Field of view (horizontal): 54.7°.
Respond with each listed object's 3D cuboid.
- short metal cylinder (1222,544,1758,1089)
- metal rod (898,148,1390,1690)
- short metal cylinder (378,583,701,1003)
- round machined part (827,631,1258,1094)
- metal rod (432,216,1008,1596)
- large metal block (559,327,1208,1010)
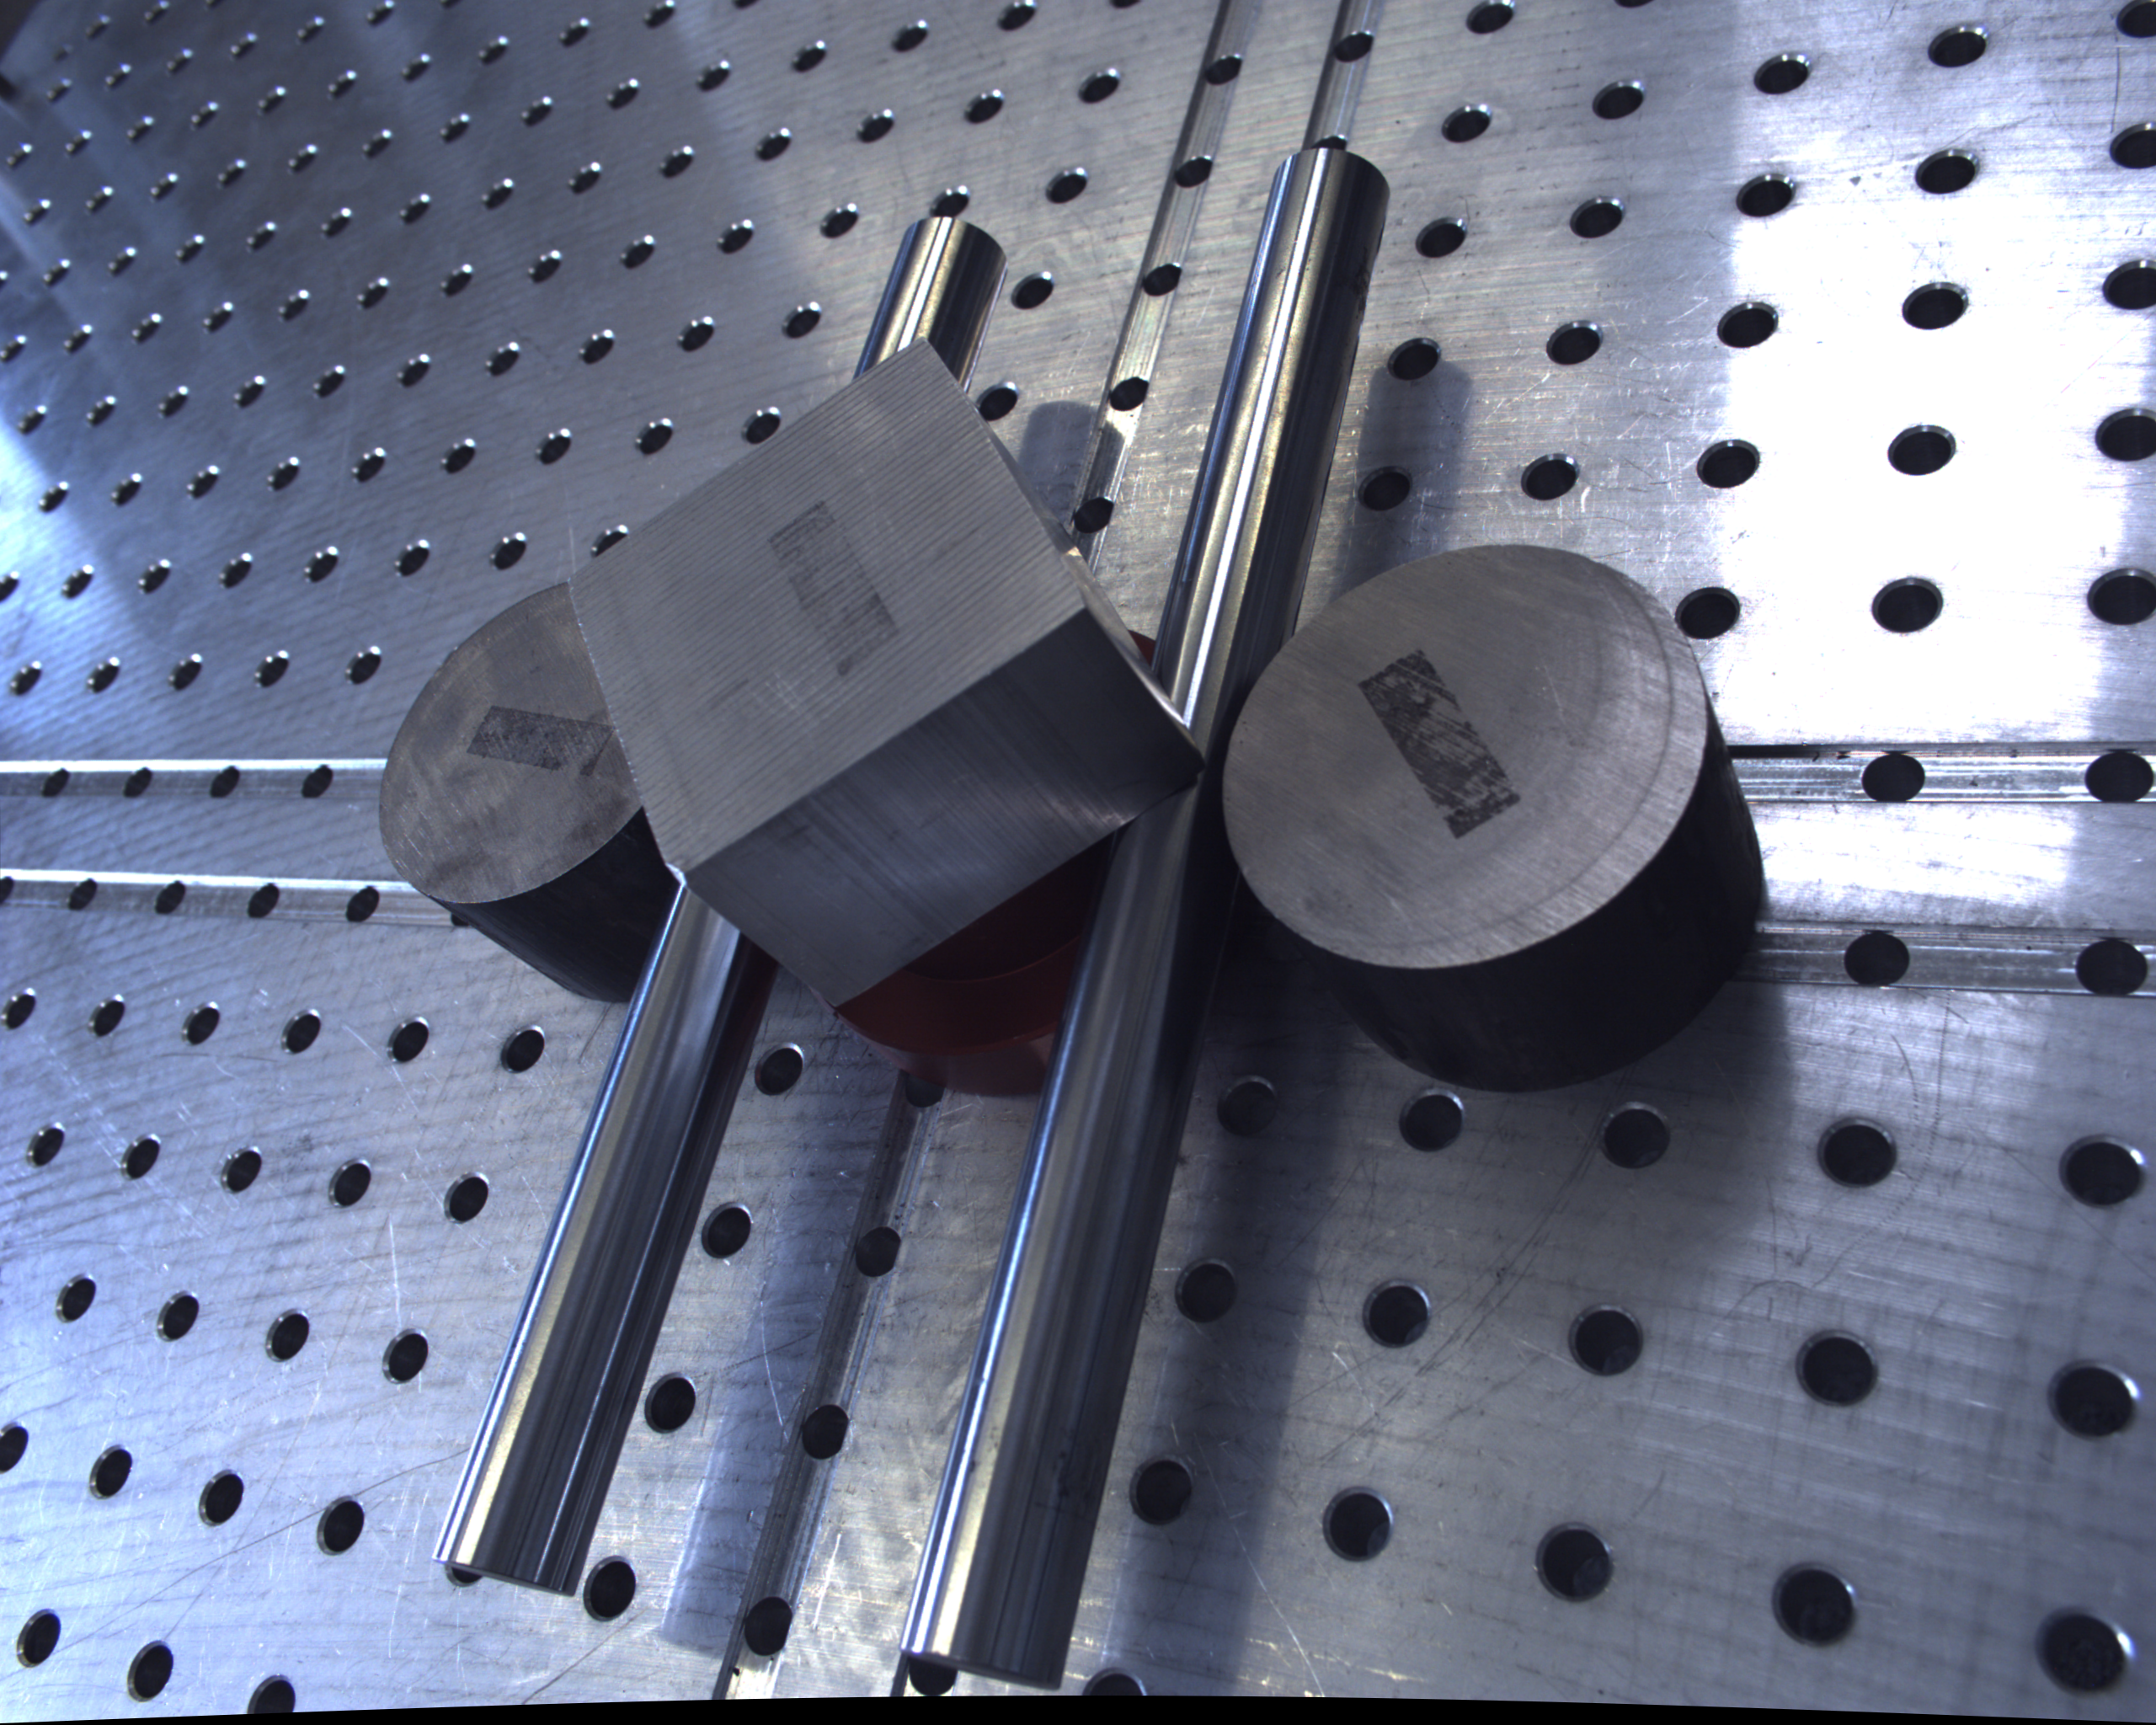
[{"bbox_3d":[0.071,-0.008,0.359,0.080,0.050,0.080,-13,56,21],"label":"short metal cylinder"},{"bbox_3d":[0.019,-0.010,0.377,0.025,0.025,0.300,0,62,28],"label":"metal rod"},{"bbox_3d":[-0.104,-0.016,0.456,0.080,0.050,0.080,-13,56,21],"label":"short metal cylinder"},{"bbox_3d":[-0.016,-0.007,0.411,0.098,0.042,0.098,-13,56,21],"label":"round machined part"},{"bbox_3d":[-0.063,-0.009,0.420,0.025,0.025,0.300,1,62,28],"label":"metal rod"},{"bbox_3d":[-0.036,-0.035,0.372,0.080,0.050,0.080,-33,51,6],"label":"large metal block"}]
